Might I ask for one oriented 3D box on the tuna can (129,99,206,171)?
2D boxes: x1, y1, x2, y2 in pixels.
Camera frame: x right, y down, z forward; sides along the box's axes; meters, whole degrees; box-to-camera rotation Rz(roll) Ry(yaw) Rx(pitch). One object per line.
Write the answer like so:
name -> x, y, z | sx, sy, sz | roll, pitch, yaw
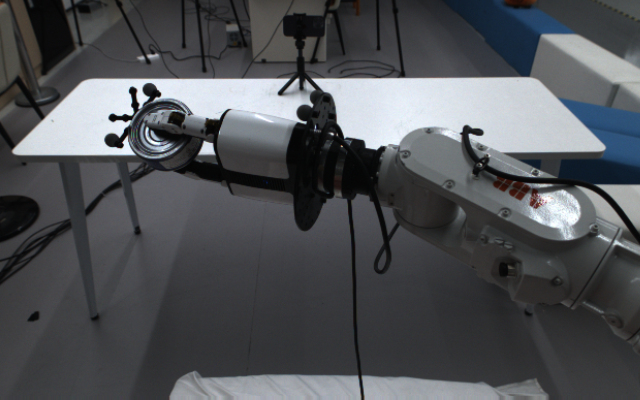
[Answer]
tuna can -> -0.186, -0.077, 0.595 | 0.085, 0.034, 0.085 | -1, 74, 5
